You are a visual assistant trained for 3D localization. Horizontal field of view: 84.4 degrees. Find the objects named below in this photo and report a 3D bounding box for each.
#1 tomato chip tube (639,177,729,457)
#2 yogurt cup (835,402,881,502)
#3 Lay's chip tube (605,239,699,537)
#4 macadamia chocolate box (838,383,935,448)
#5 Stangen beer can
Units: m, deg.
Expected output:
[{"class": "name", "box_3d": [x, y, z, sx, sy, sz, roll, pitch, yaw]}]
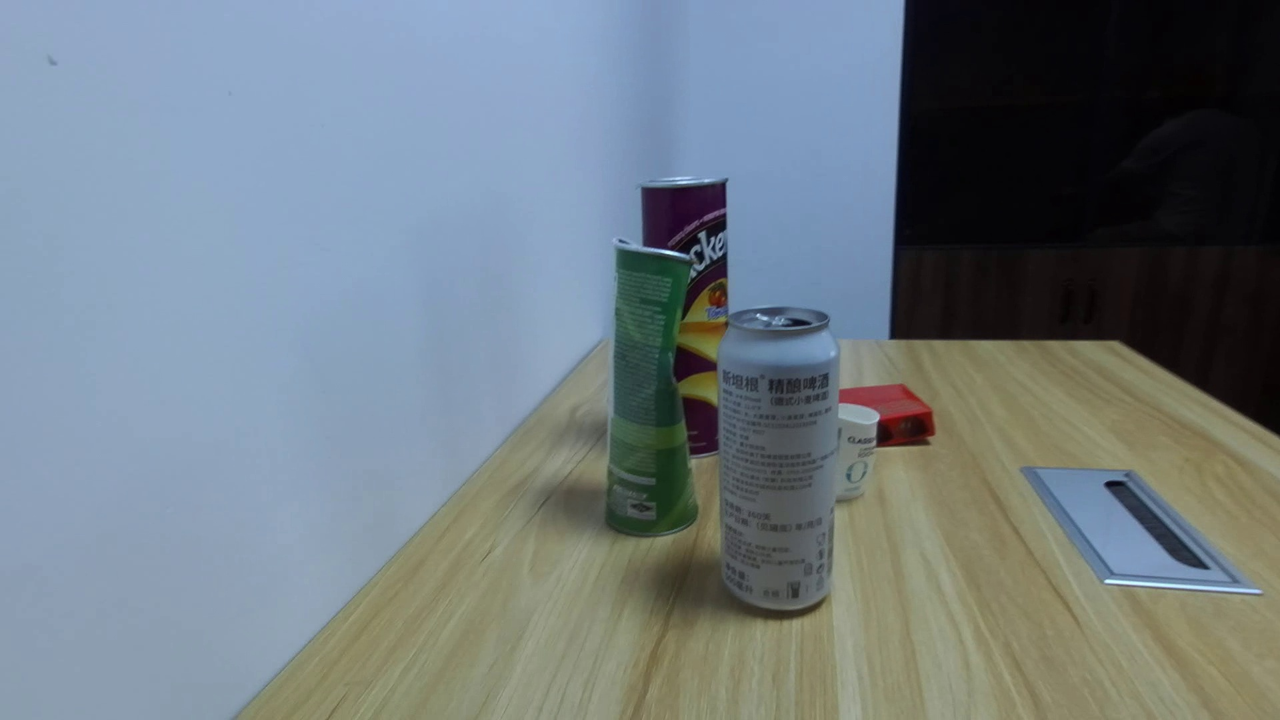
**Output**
[{"class": "tomato chip tube", "box_3d": [0.043, -0.034, 0.612, 0.080, 0.234, 0.076, -6, 11, -18]}, {"class": "yogurt cup", "box_3d": [0.147, 0.062, 0.538, 0.075, 0.071, 0.054, 15, 27, 38]}, {"class": "Lay's chip tube", "box_3d": [0.005, 0.019, 0.494, 0.077, 0.201, 0.069, 9, 19, 29]}, {"class": "macadamia chocolate box", "box_3d": [0.200, 0.051, 0.657, 0.126, 0.056, 0.112, 3, 30, 5]}, {"class": "Stangen beer can", "box_3d": [0.079, 0.057, 0.402, 0.067, 0.171, 0.067, -2, 17, 1]}]
